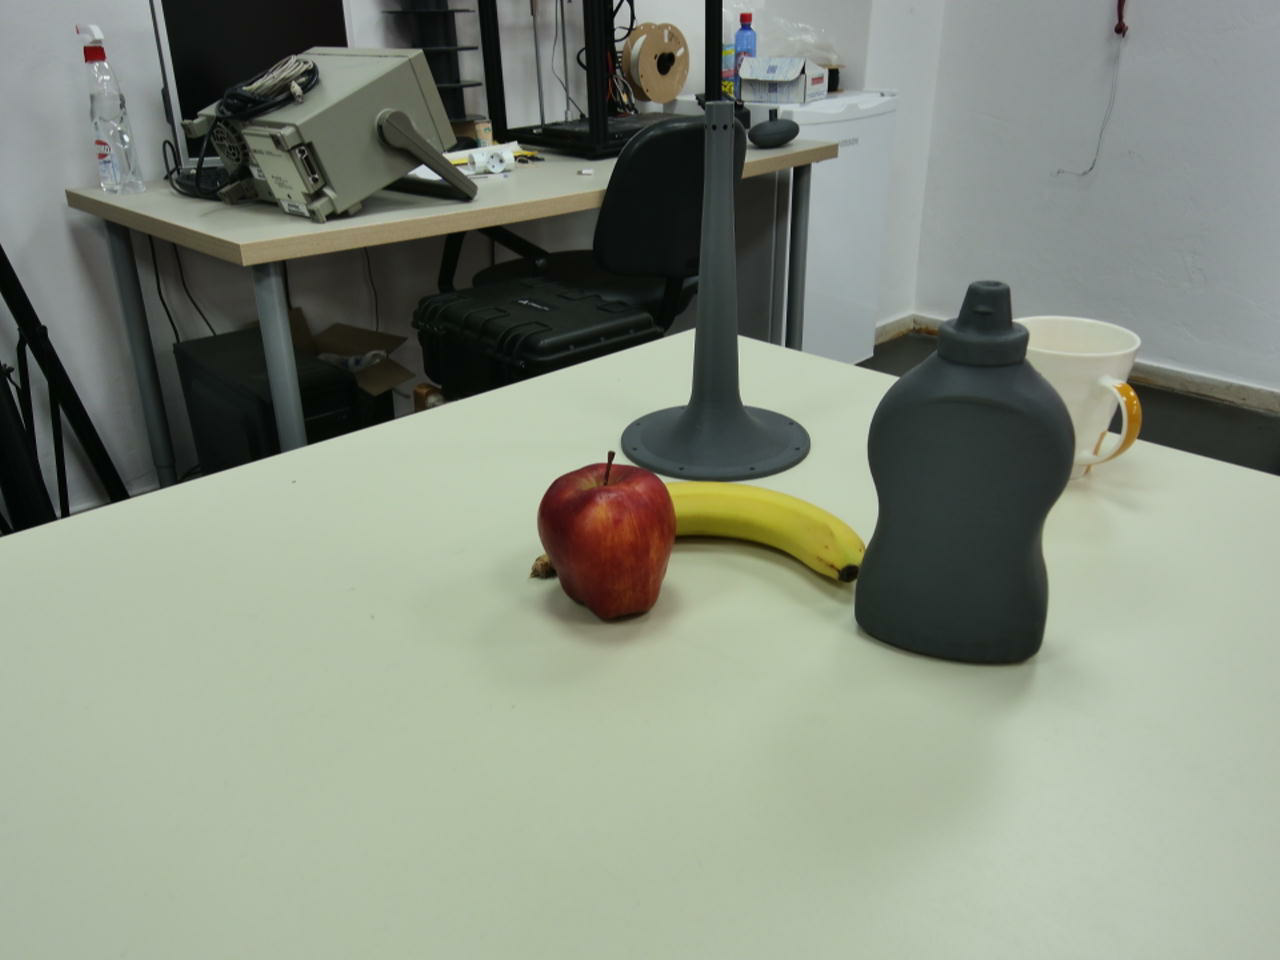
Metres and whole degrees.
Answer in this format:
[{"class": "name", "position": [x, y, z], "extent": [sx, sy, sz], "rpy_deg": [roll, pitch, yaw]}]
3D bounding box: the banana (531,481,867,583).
[{"class": "banana", "position": [0.038, 0.031, 0.623], "extent": [0.196, 0.041, 0.094], "rpy_deg": [5, 24, 11]}]
